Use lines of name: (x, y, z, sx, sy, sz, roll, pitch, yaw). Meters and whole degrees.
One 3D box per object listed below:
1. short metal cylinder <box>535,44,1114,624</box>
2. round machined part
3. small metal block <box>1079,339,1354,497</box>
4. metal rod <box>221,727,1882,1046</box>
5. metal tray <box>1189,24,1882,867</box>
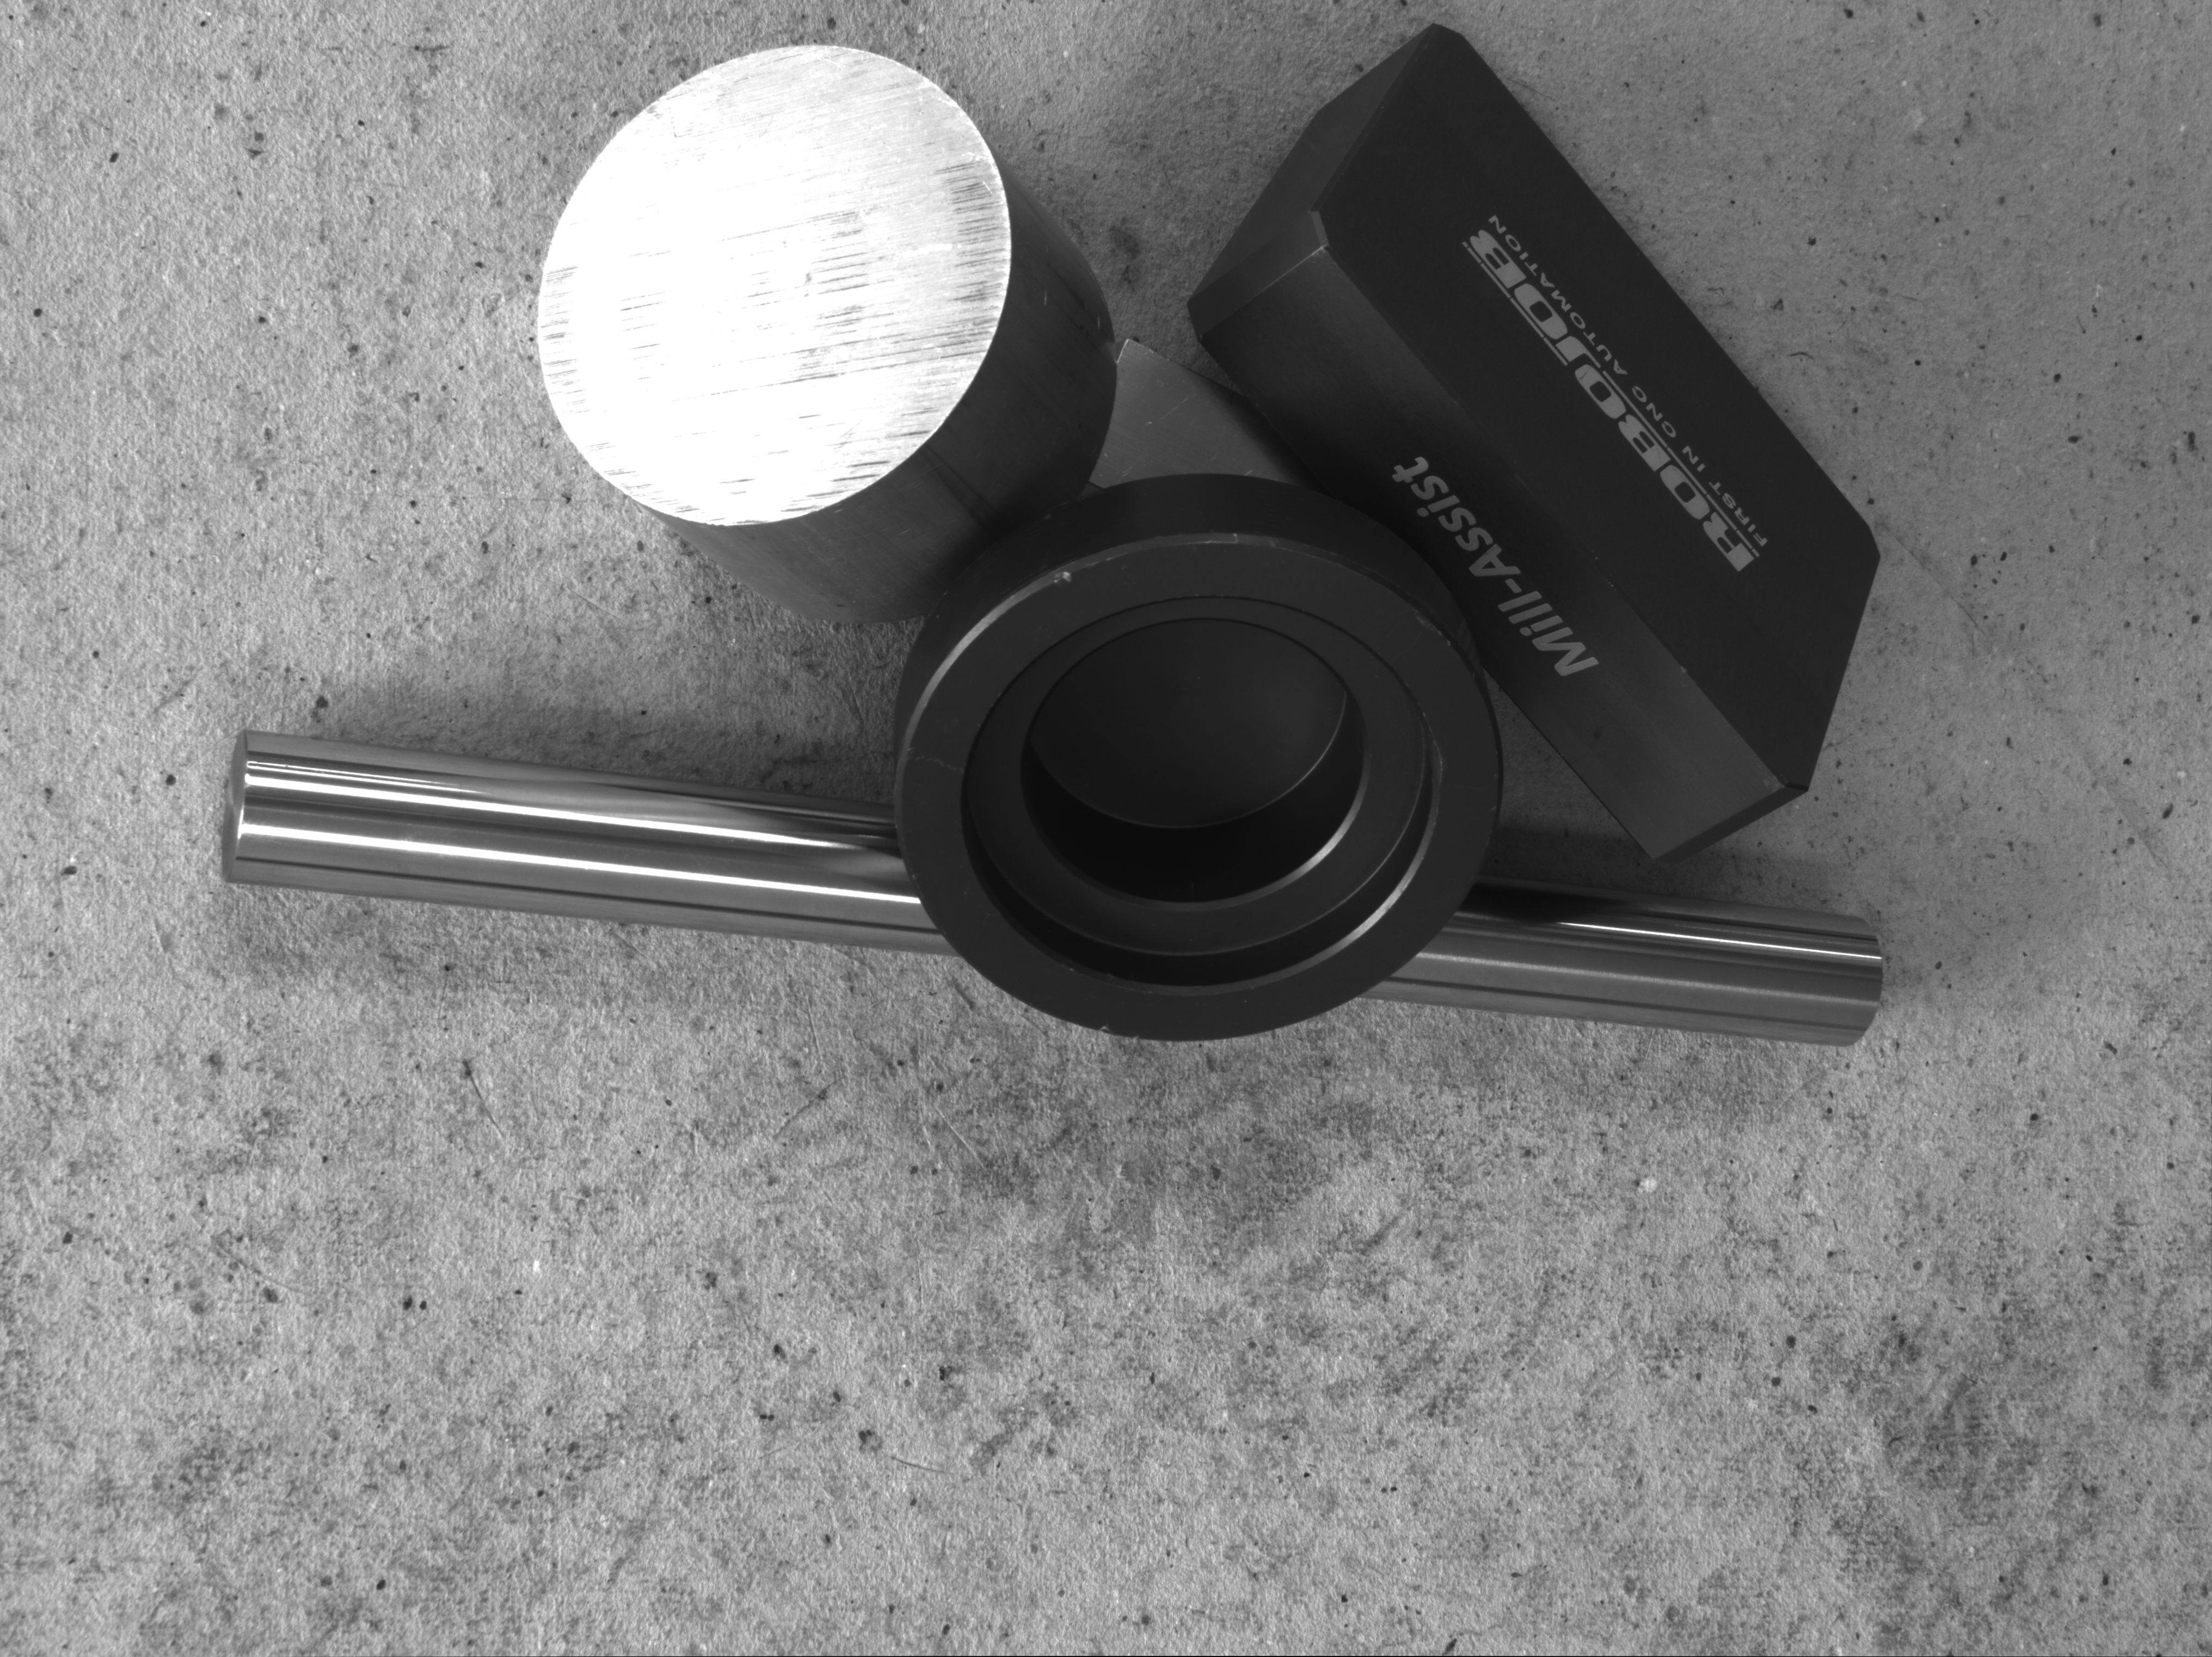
short metal cylinder: (-0.045, -0.079, 0.593, 0.080, 0.050, 0.080, -5, 74, 18)
round machined part: (0.014, -0.016, 0.607, 0.098, 0.042, 0.098, -2, 124, -3)
small metal block: (0.012, -0.059, 0.633, 0.050, 0.050, 0.025, 25, 82, -18)
metal rod: (-0.001, 0.012, 0.644, 0.301, 0.025, 0.025, 7, 88, -20)
metal tray: (0.079, -0.068, 0.642, 0.130, 0.030, 0.090, 47, 37, -14)
